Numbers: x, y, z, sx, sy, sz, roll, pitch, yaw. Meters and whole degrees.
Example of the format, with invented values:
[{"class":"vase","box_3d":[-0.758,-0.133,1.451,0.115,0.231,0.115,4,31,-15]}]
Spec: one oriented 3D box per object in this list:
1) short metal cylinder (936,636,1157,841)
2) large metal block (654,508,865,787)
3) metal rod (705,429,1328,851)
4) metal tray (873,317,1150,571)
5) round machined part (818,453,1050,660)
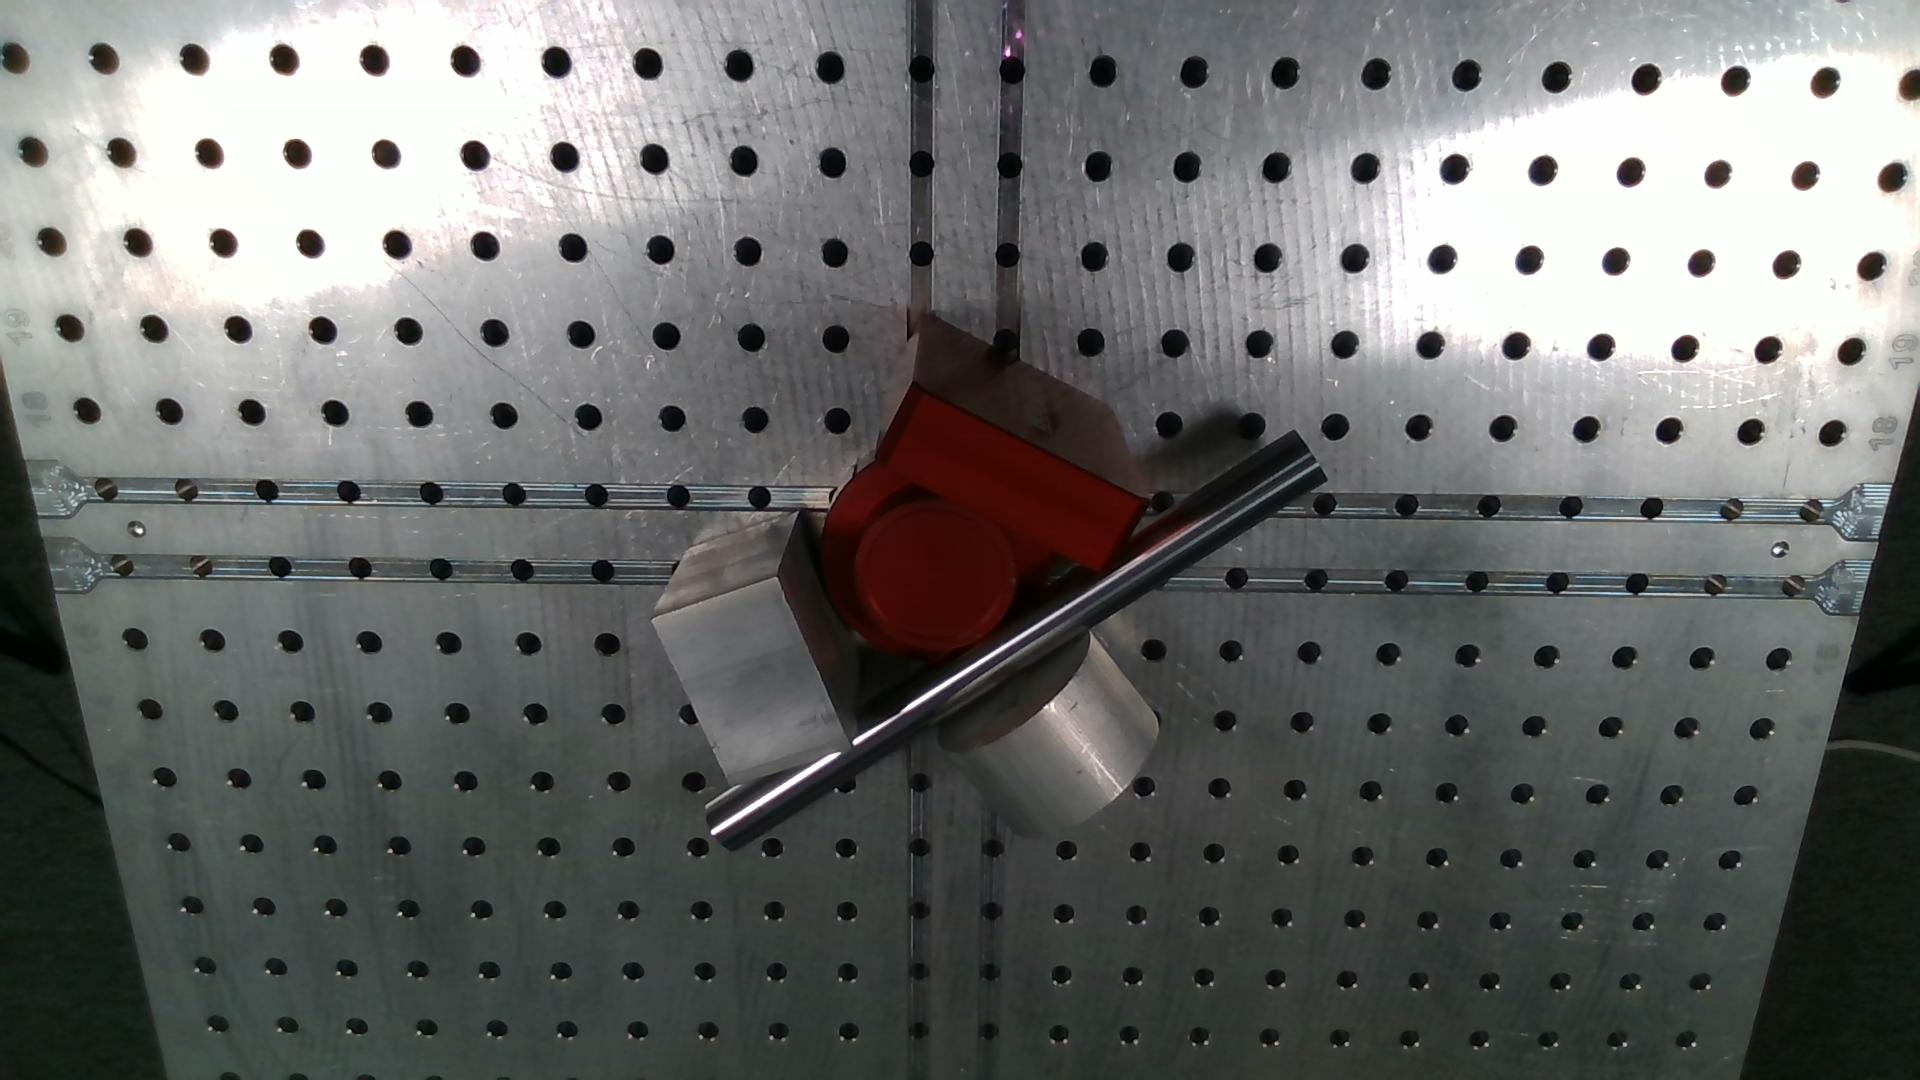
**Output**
[{"class":"short metal cylinder","box_3d":[0.037,0.081,0.587,0.080,0.080,0.050,-35,106,12]},{"class":"large metal block","box_3d":[-0.080,0.042,0.574,0.050,0.080,0.080,-18,109,7]},{"class":"metal rod","box_3d":[0.018,0.046,0.582,0.300,0.025,0.025,-33,107,12]},{"class":"metal tray","box_3d":[0.018,-0.041,0.516,0.090,0.130,0.030,26,108,-9]},{"class":"round machined part","box_3d":[-0.011,0.007,0.580,0.098,0.042,0.098,0,110,0]}]
